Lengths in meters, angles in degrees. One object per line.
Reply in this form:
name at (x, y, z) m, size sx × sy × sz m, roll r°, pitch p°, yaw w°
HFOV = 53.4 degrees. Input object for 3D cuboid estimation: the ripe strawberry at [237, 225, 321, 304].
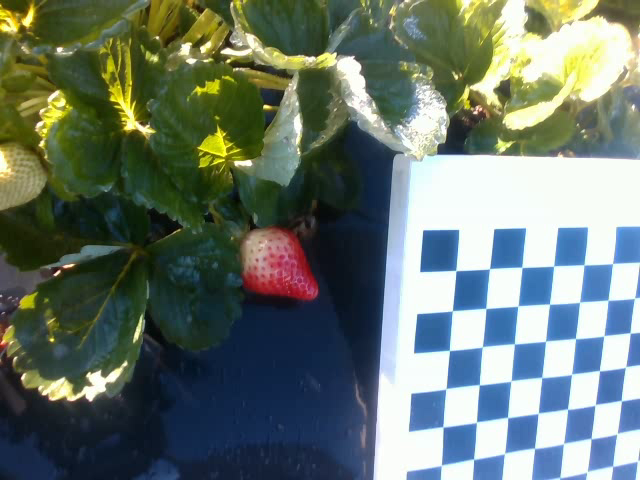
ripe strawberry at (-0.024, 0.022, 0.378) m, size 0.065 × 0.040 × 0.040 m, roll 43°, pitch -10°, yaw -22°
